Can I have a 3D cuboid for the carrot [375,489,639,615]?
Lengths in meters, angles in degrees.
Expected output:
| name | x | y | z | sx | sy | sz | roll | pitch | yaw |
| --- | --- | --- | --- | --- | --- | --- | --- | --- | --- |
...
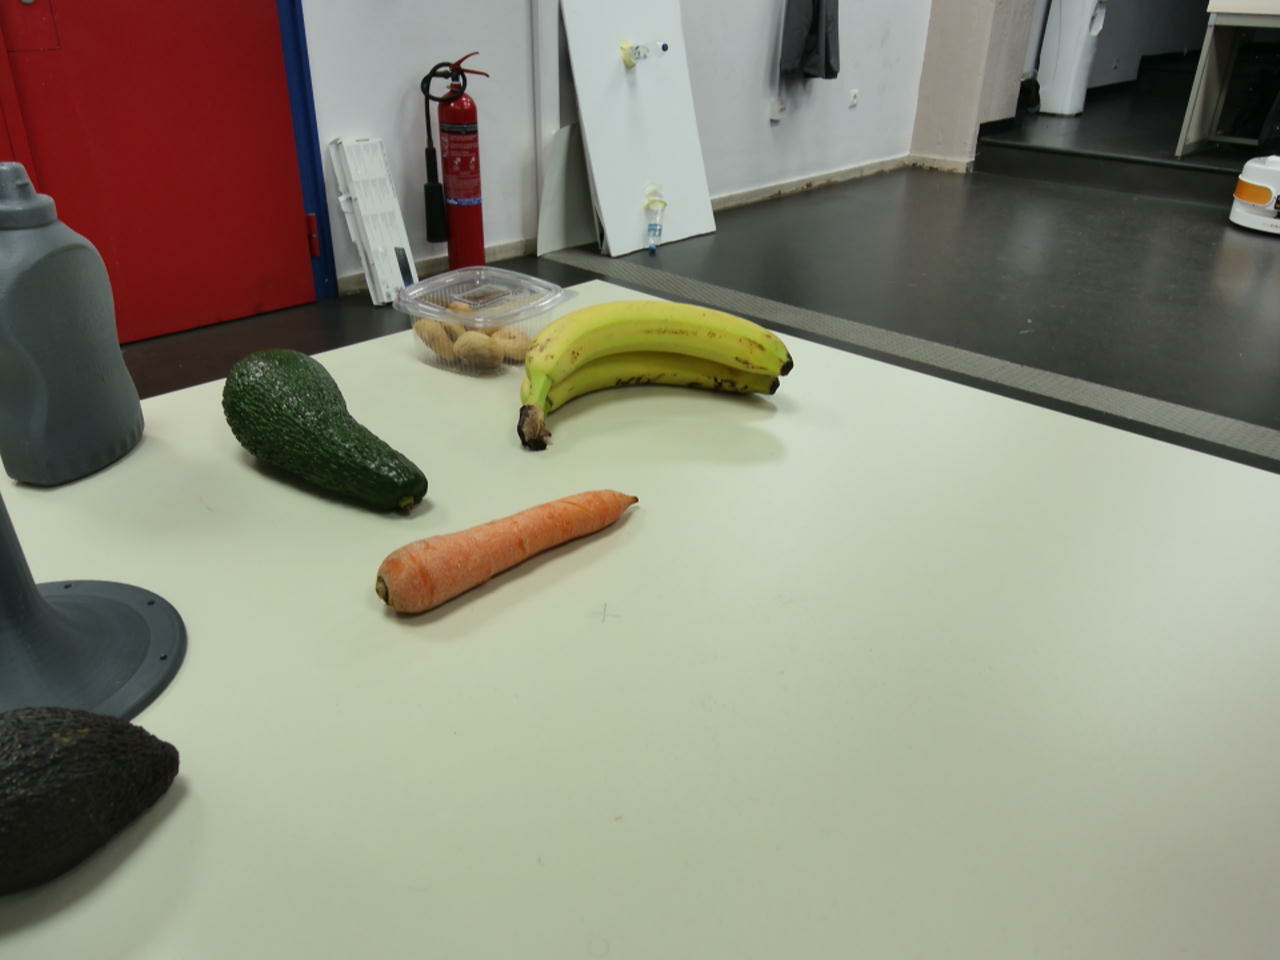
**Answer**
| name | x | y | z | sx | sy | sz | roll | pitch | yaw |
| --- | --- | --- | --- | --- | --- | --- | --- | --- | --- |
| carrot | -0.072 | 0.031 | 0.602 | 0.039 | 0.041 | 0.196 | 22 | 33 | 37 |
